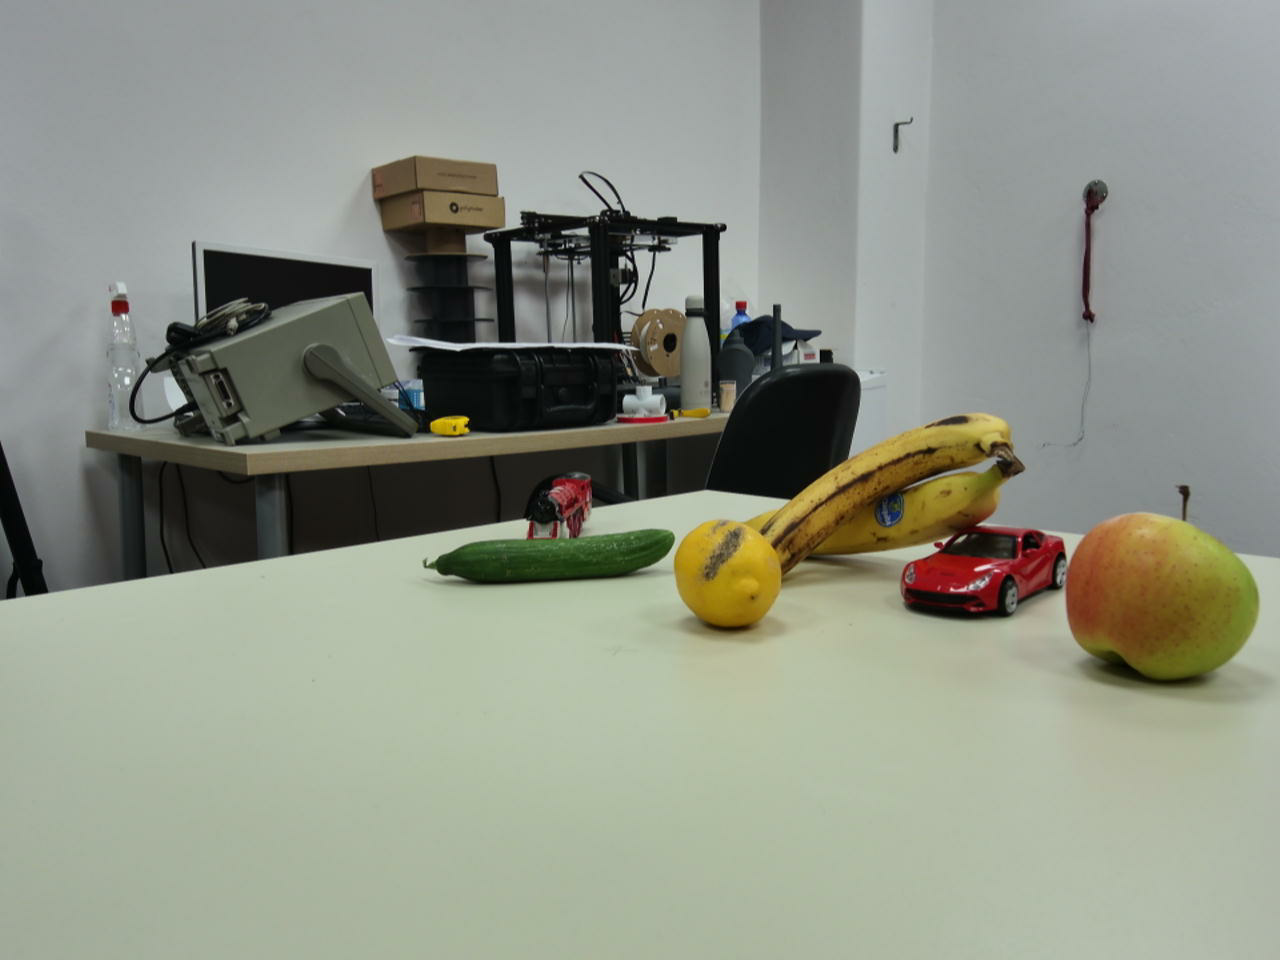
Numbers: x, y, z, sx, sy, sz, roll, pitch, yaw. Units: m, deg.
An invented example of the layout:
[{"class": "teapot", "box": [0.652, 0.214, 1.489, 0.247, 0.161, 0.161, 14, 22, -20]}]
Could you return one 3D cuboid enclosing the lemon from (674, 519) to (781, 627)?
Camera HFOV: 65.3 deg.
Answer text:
[{"class": "lemon", "box": [0.048, 0.050, 0.543, 0.061, 0.056, 0.058, 5, 7, 39]}]
